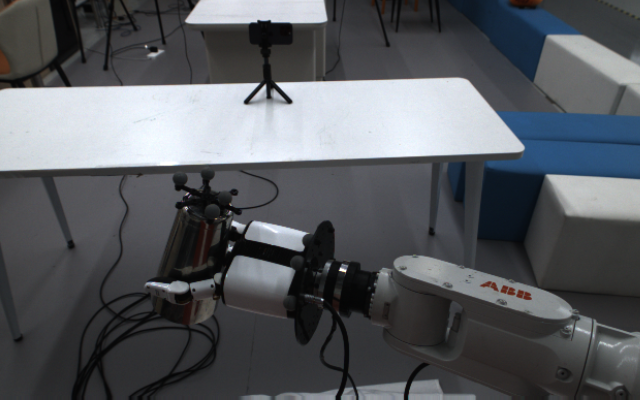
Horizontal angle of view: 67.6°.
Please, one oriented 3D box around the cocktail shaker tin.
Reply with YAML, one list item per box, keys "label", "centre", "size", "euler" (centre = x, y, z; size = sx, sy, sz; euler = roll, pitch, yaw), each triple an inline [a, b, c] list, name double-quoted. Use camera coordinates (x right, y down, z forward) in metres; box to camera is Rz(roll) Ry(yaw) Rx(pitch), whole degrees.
- label: "cocktail shaker tin"
  centre: [-0.163, 0.070, 0.635]
  size: [0.093, 0.170, 0.093]
  euler: [16, 31, -10]
